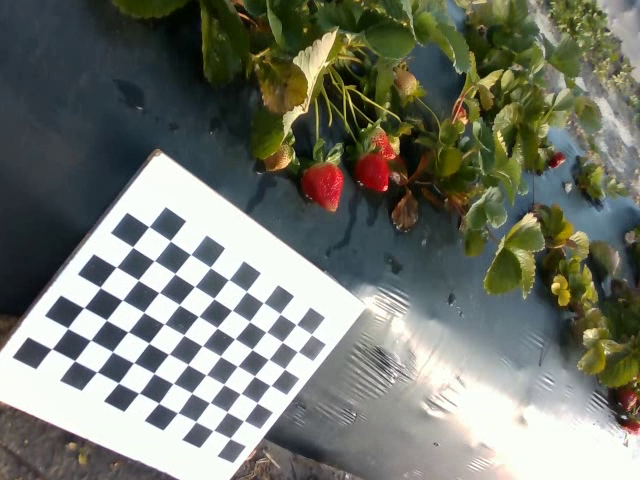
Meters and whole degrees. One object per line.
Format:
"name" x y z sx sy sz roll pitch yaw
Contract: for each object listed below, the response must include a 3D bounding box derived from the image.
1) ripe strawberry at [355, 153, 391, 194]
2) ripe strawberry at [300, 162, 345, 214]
"ripe strawberry" 0.063 -0.076 0.711 0.044 0.055 0.042 -27 -25 -10
"ripe strawberry" 0.007 -0.055 0.650 0.050 0.065 0.050 -5 -36 -19
